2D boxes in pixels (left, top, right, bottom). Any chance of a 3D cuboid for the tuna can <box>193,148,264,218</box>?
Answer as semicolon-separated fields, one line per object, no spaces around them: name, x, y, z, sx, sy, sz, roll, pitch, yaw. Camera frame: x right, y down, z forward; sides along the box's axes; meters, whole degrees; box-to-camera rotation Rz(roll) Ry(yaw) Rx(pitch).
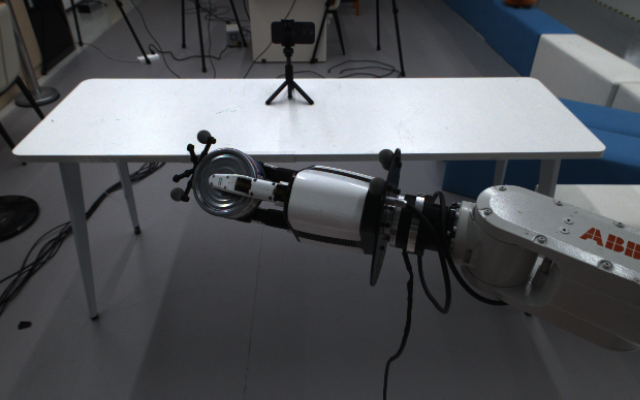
tuna can;-0.108;-0.015;0.592;0.085;0.085;0.034;12;-4;14
